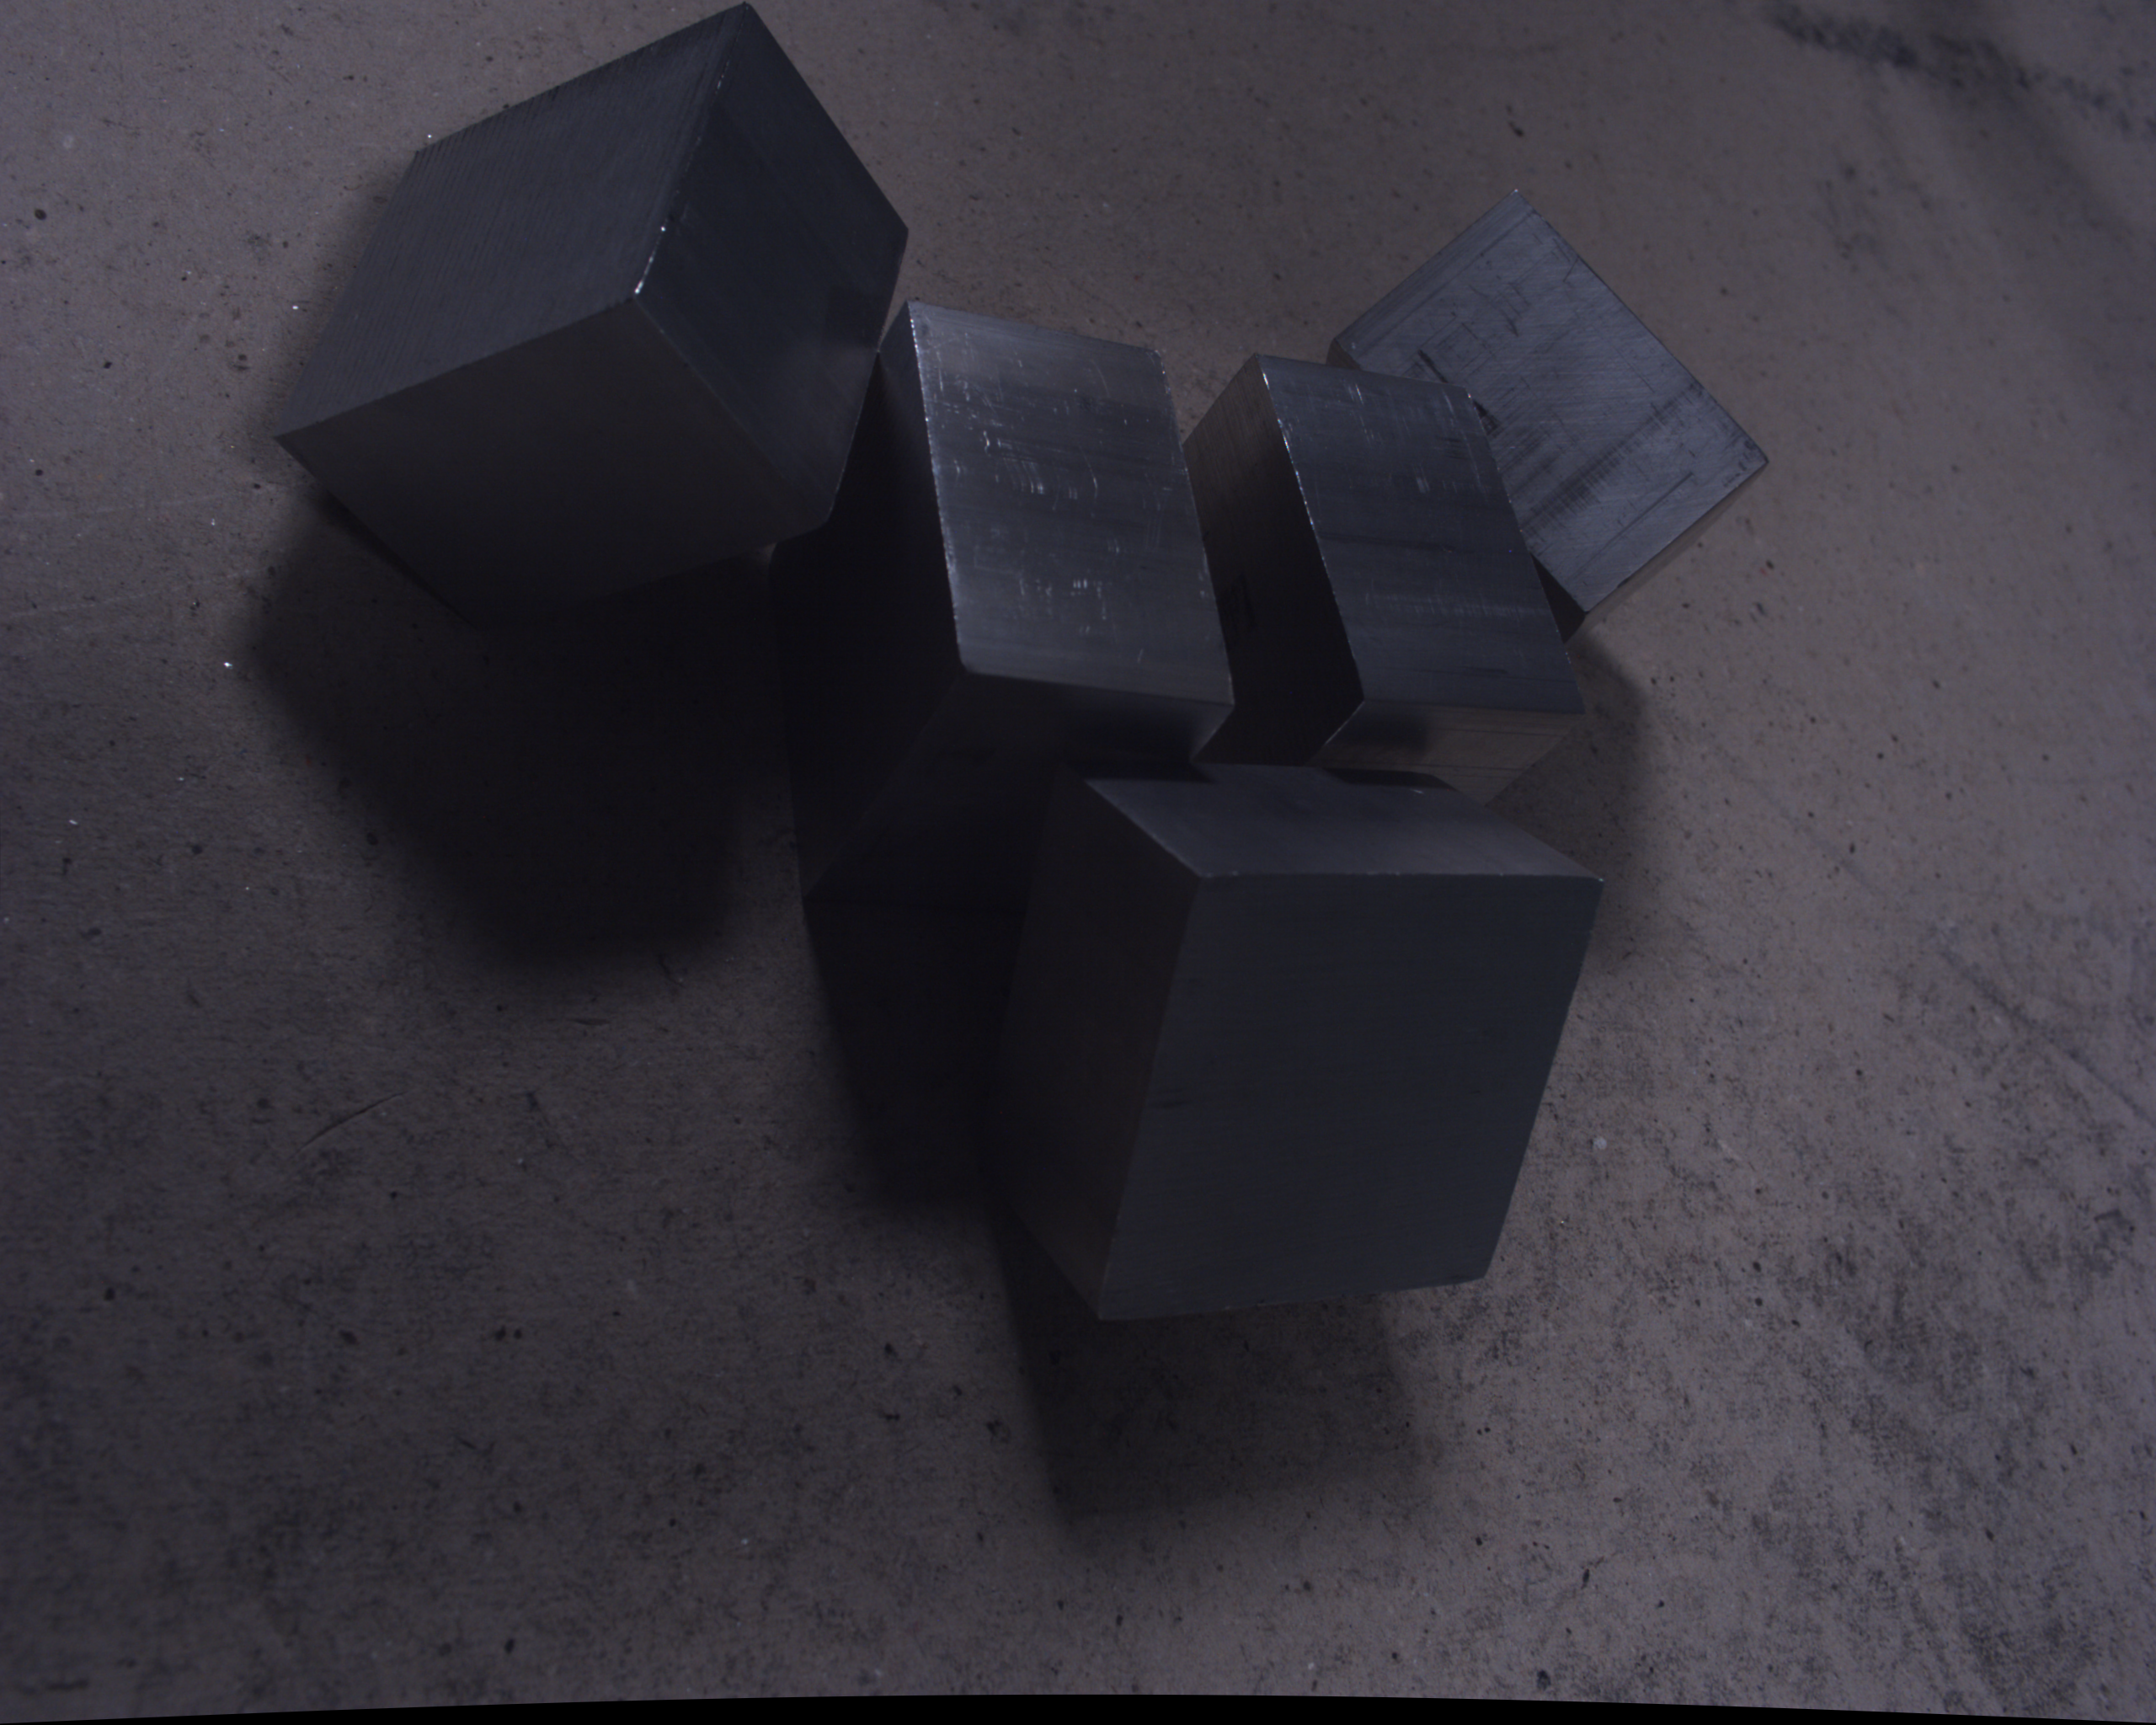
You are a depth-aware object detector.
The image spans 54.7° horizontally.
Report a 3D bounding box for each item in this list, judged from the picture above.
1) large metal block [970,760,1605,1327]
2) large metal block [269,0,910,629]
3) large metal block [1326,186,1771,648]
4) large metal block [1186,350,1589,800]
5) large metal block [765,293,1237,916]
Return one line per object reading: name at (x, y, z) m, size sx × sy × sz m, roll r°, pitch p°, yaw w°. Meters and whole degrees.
large metal block at (0.034, 0.029, 0.364) m, size 0.081 × 0.079 × 0.050 m, roll 1°, pitch 22°, yaw -28°
large metal block at (-0.084, -0.096, 0.373) m, size 0.050 × 0.080 × 0.080 m, roll 49°, pitch 39°, yaw -43°
large metal block at (0.101, -0.093, 0.475) m, size 0.050 × 0.080 × 0.080 m, roll -41°, pitch 84°, yaw -1°
large metal block at (0.048, -0.044, 0.425) m, size 0.050 × 0.080 × 0.080 m, roll 1°, pitch 62°, yaw -28°
large metal block at (-0.019, -0.044, 0.388) m, size 0.050 × 0.080 × 0.080 m, roll 5°, pitch 60°, yaw -26°
